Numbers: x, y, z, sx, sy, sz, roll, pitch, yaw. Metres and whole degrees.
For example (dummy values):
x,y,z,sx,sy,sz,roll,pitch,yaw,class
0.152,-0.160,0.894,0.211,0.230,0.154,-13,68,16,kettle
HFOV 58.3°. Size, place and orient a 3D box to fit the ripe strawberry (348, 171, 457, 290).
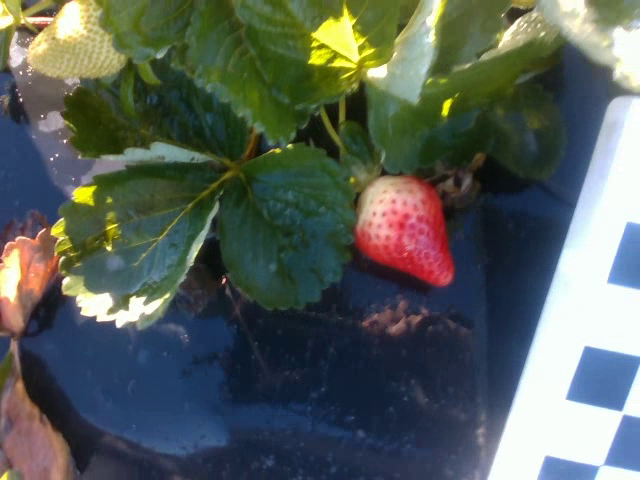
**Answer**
x,y,z,sx,sy,sz,roll,pitch,yaw,class
0.040,0.002,0.263,0.040,0.065,0.040,-38,8,5,ripe strawberry
